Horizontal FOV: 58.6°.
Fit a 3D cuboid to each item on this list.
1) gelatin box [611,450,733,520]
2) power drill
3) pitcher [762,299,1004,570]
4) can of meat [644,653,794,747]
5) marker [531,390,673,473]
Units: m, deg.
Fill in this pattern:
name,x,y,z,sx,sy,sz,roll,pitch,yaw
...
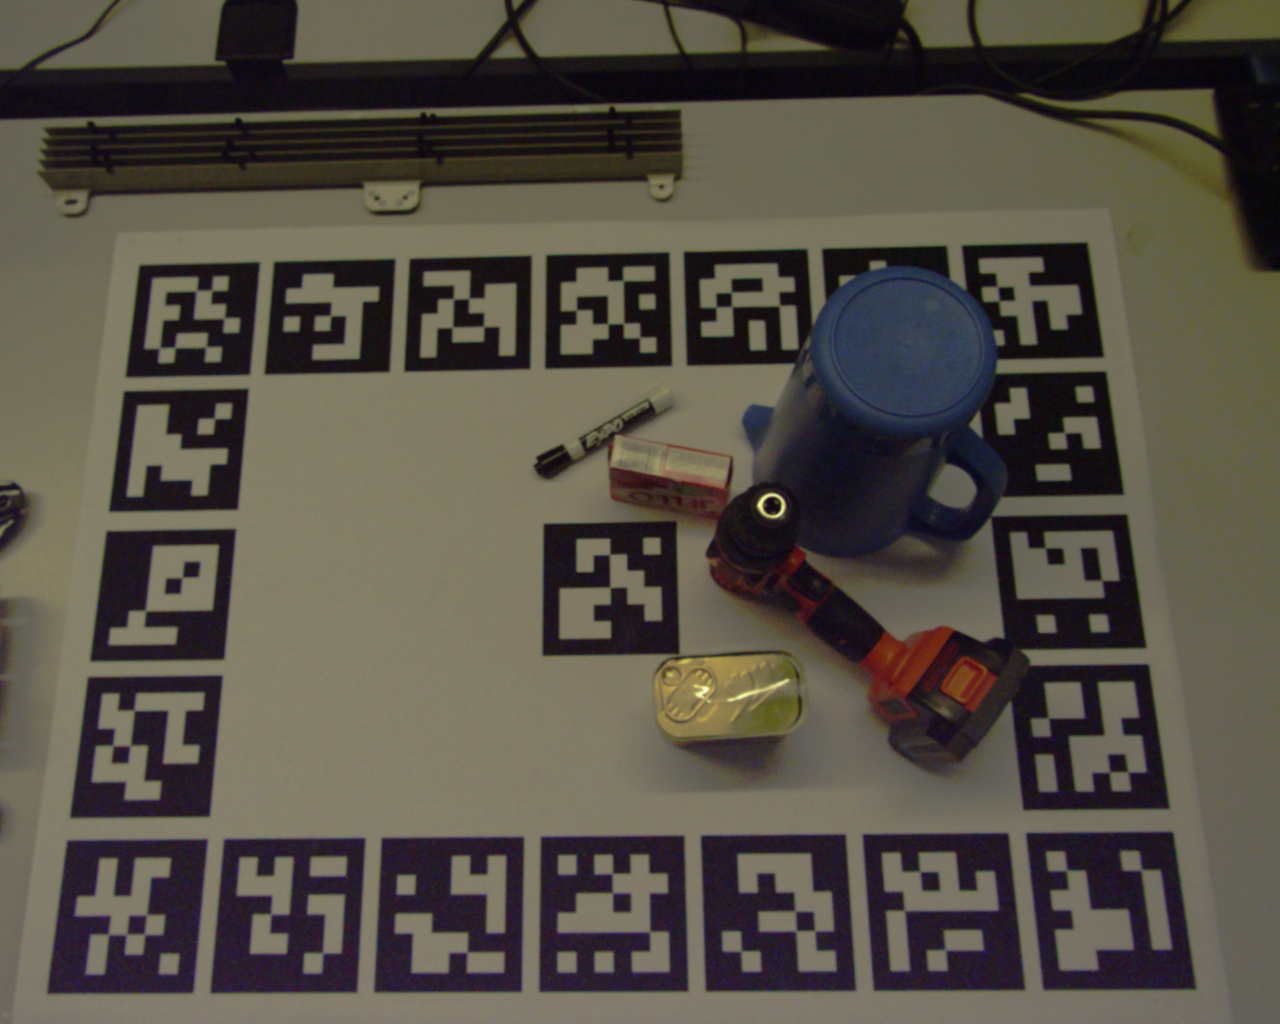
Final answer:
name,x,y,z,sx,sy,sz,roll,pitch,yaw
gelatin box,0.023,-0.018,0.872,0.089,0.073,0.030,10,79,2
power drill,0.120,0.062,0.790,0.187,0.184,0.057,35,80,4
pitcher,0.167,-0.044,0.795,0.190,0.241,0.133,30,80,15
can of meat,0.053,0.137,0.819,0.102,0.083,0.058,-2,73,0
marker,-0.031,-0.063,0.911,0.121,0.019,0.020,-27,77,-5
